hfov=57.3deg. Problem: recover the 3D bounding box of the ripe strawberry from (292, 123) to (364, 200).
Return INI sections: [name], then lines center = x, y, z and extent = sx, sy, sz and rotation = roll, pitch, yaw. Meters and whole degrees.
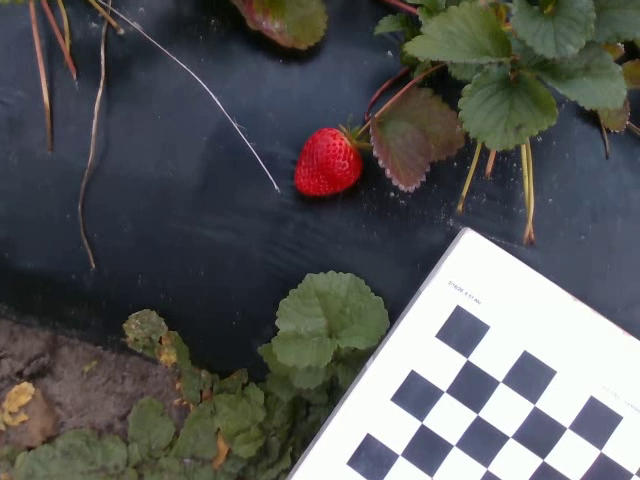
[ripe strawberry]
center = 0.001, -0.031, 0.235
extent = 0.032, 0.029, 0.023
rotation = -40, -7, 0
